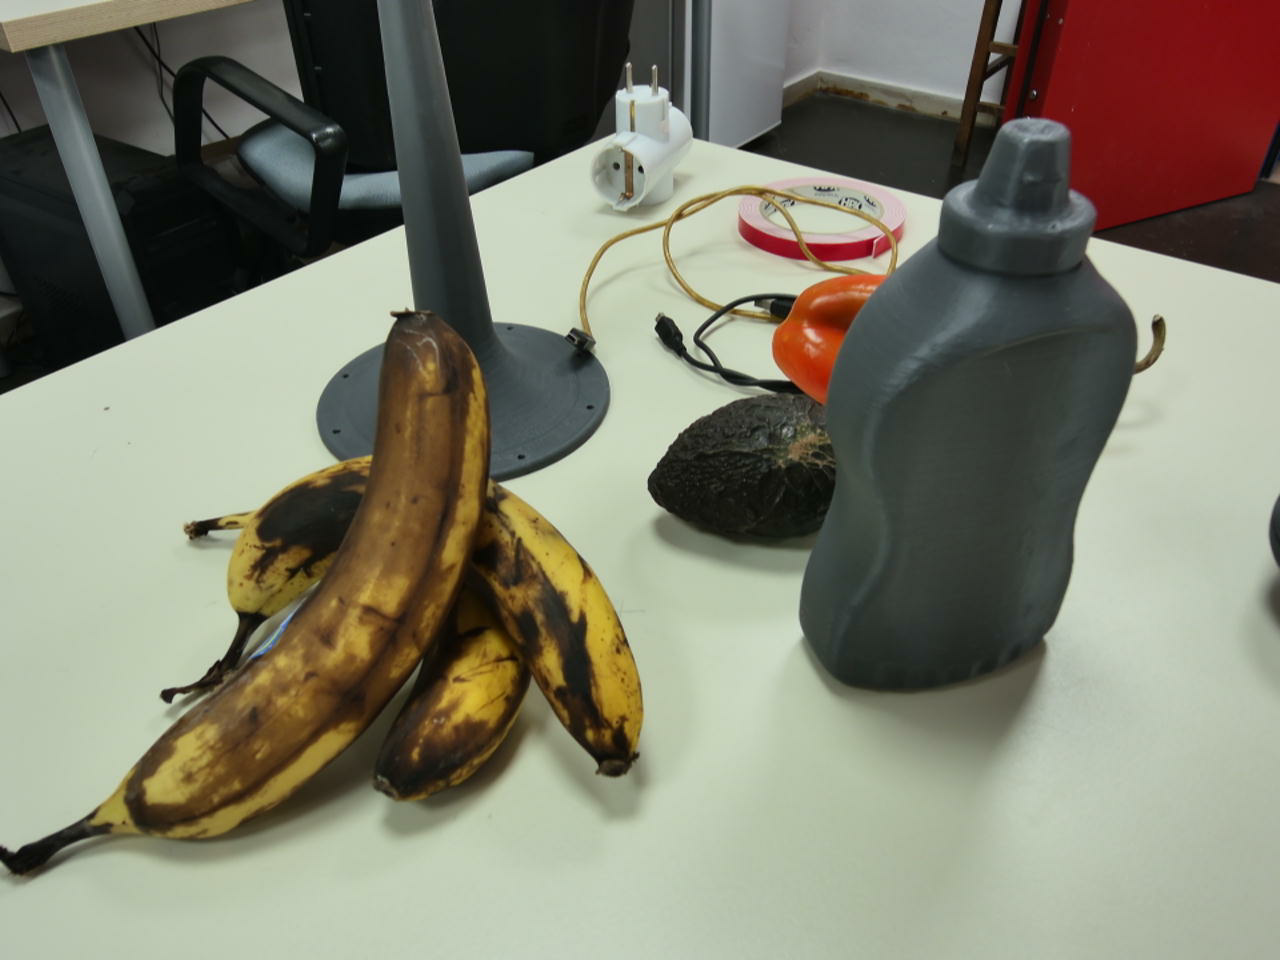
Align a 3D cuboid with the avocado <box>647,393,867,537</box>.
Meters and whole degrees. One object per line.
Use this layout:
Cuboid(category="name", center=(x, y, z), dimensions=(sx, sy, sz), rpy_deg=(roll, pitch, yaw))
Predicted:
Cuboid(category="avocado", center=(0.051, -0.007, 0.432), dimensions=(0.092, 0.062, 0.062), rpy_deg=(10, 38, 13))
